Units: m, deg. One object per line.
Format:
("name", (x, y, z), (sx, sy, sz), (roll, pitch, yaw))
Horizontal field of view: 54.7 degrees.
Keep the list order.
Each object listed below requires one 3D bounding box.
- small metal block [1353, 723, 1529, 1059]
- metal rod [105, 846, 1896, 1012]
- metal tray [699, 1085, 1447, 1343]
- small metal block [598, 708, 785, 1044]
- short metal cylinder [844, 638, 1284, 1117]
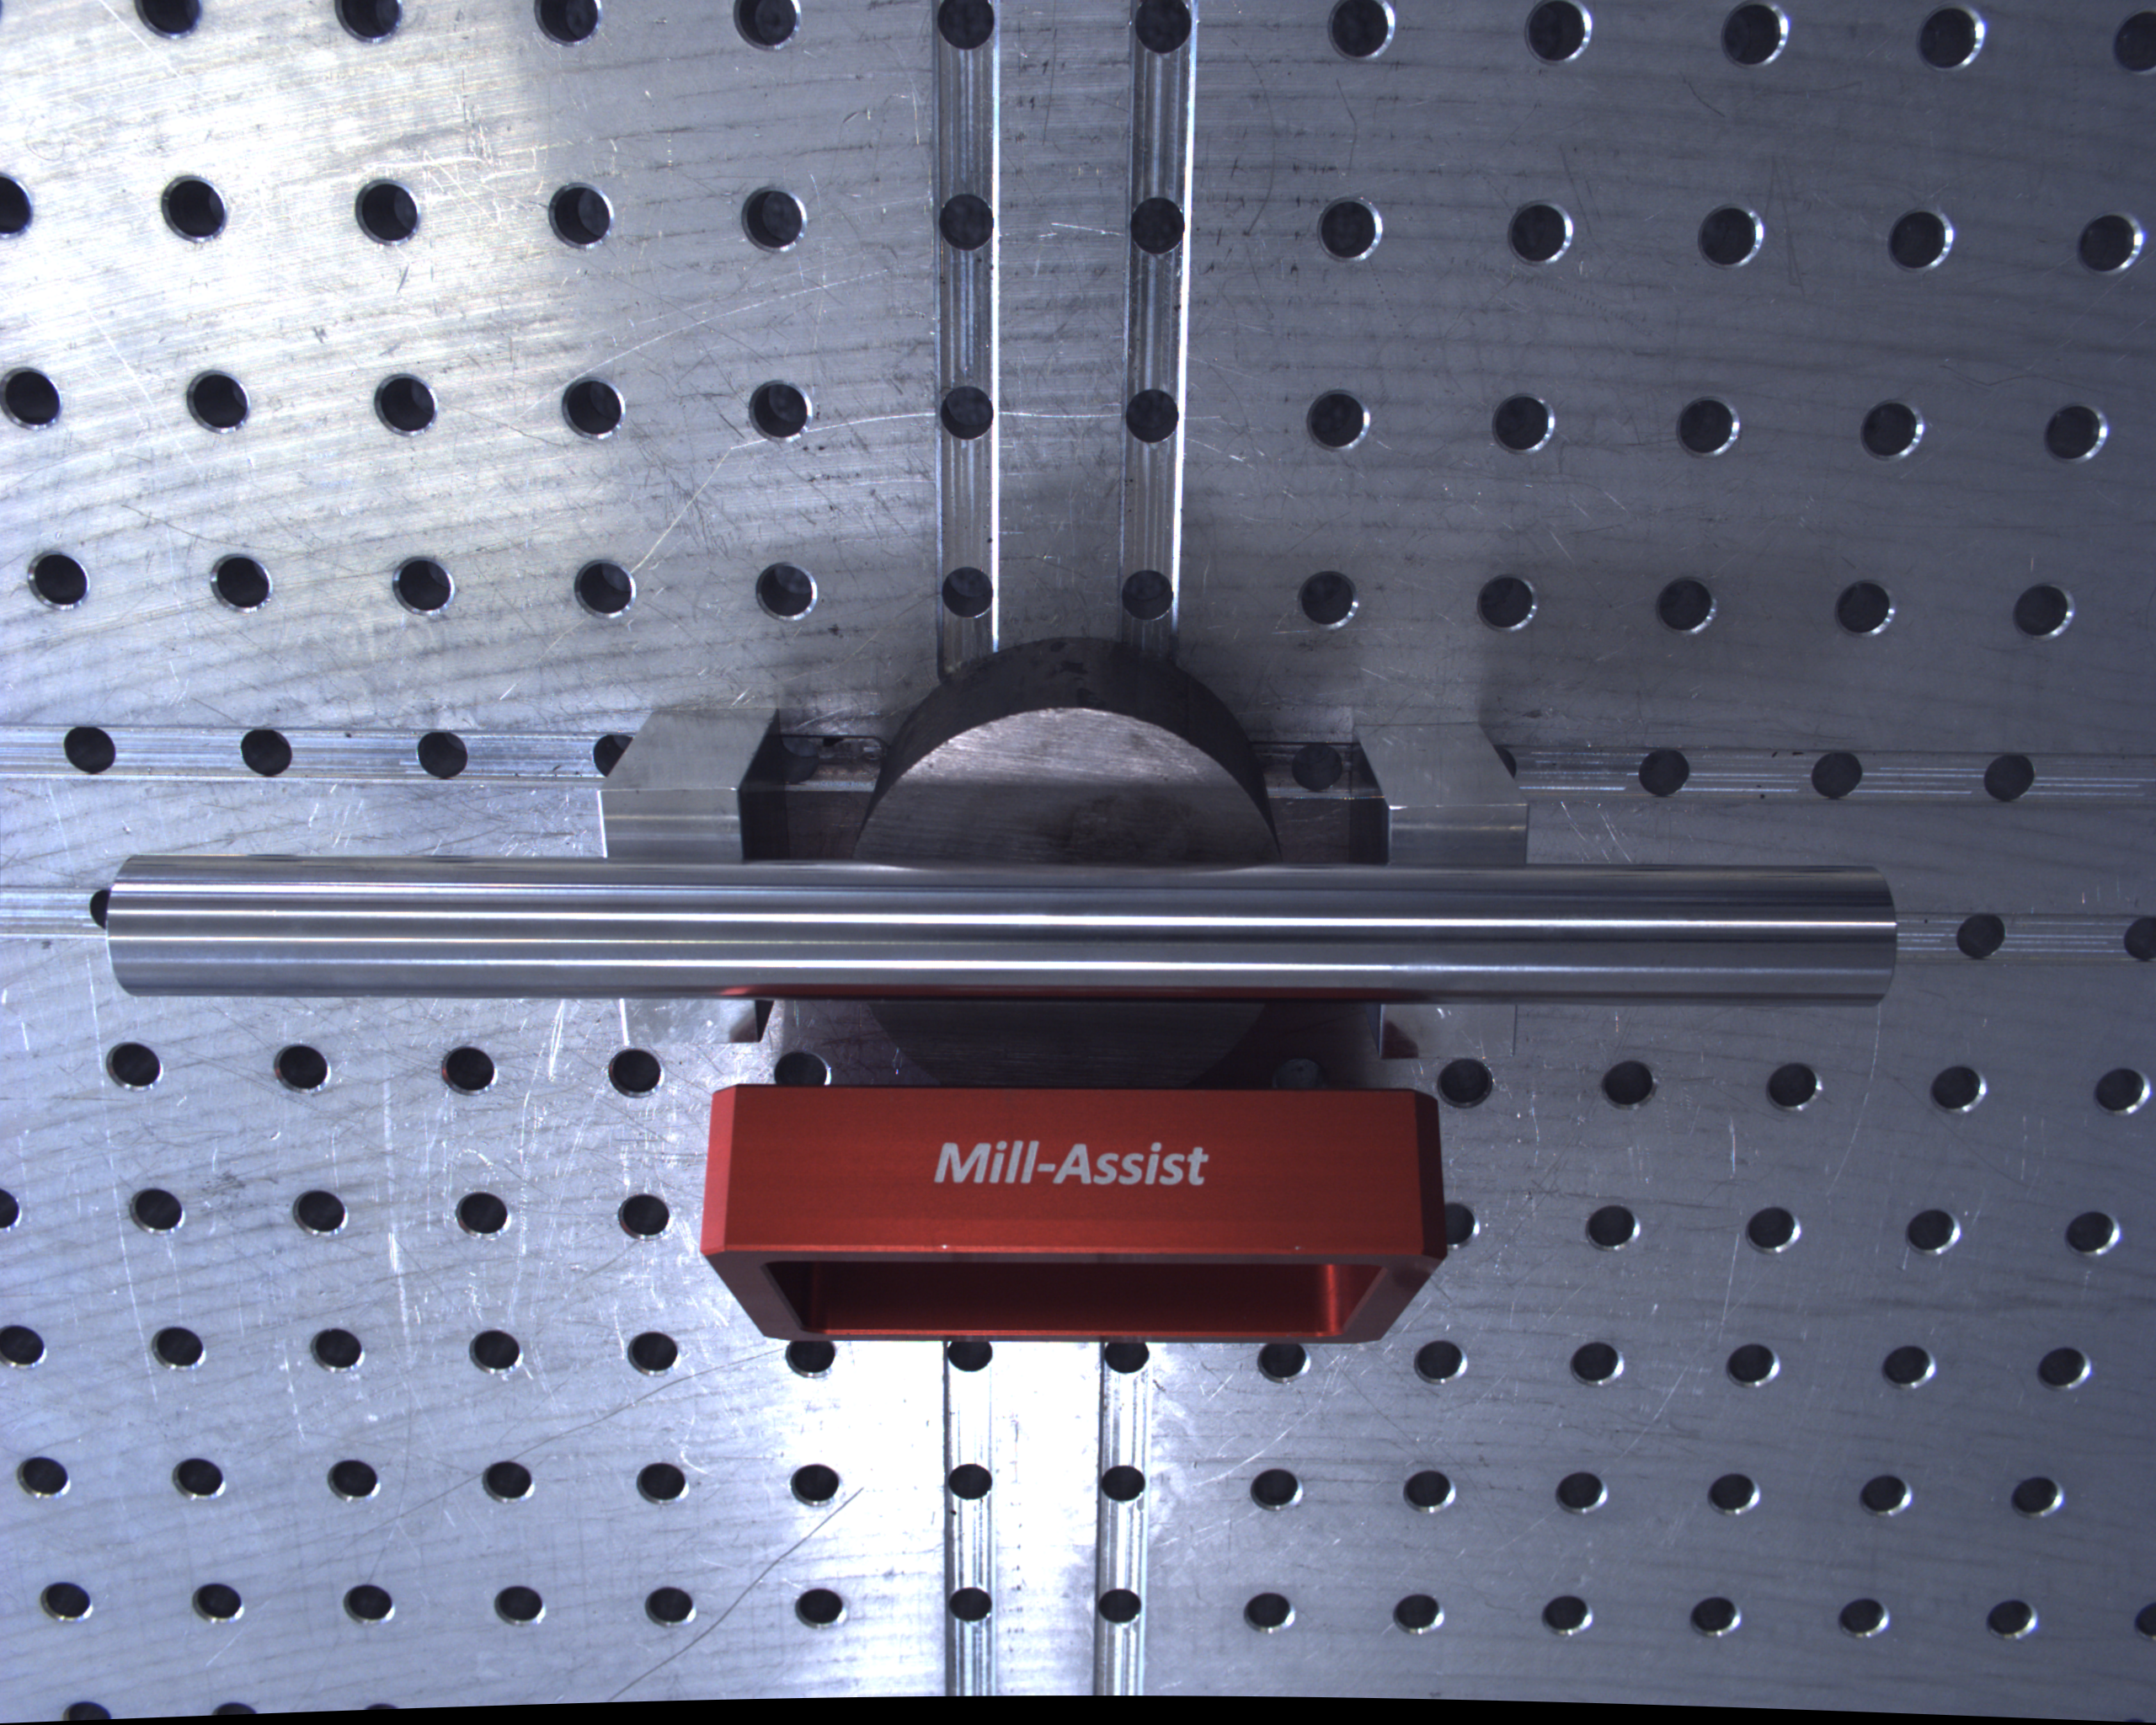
("small metal block", (0.068, 0.004, 0.402), (0.025, 0.050, 0.050), (-1, 110, 0))
("metal rod", (-0.013, 0.012, 0.364), (0.302, 0.025, 0.025), (1, 110, 0))
("metal tray", (-0.001, 0.071, 0.407), (0.131, 0.090, 0.030), (0, 67, 0))
("small metal block", (-0.072, 0.001, 0.400), (0.025, 0.050, 0.050), (-1, 110, 0))
("short metal cylinder", (-0.002, 0.002, 0.400), (0.081, 0.050, 0.079), (0, 110, 0))
